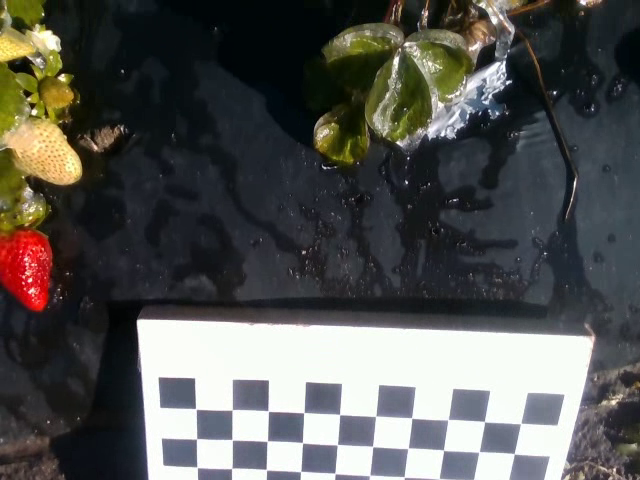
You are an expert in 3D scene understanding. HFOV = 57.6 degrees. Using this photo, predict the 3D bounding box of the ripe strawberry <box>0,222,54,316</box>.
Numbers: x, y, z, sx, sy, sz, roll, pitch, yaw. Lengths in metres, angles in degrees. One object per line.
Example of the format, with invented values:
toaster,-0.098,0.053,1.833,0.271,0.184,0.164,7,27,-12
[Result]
ripe strawberry,-0.183,0.024,0.346,0.042,0.052,0.040,-15,13,5
